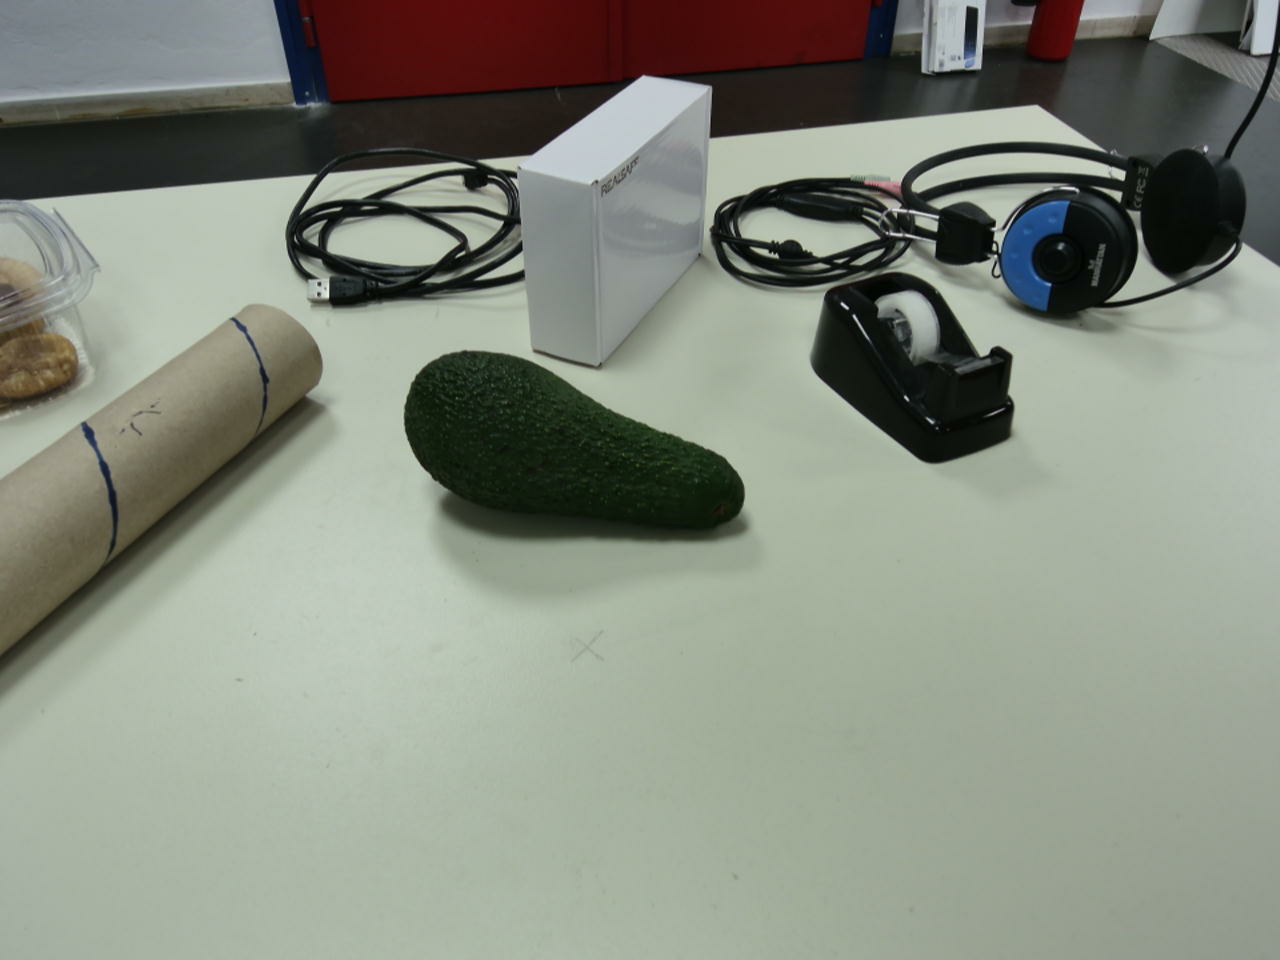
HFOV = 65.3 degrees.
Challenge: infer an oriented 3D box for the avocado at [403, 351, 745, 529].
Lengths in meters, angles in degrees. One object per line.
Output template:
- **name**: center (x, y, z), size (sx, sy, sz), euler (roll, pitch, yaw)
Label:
- **avocado**: center (-0.027, -0.020, 0.410), size (0.141, 0.067, 0.063), euler (1, 38, 1)
